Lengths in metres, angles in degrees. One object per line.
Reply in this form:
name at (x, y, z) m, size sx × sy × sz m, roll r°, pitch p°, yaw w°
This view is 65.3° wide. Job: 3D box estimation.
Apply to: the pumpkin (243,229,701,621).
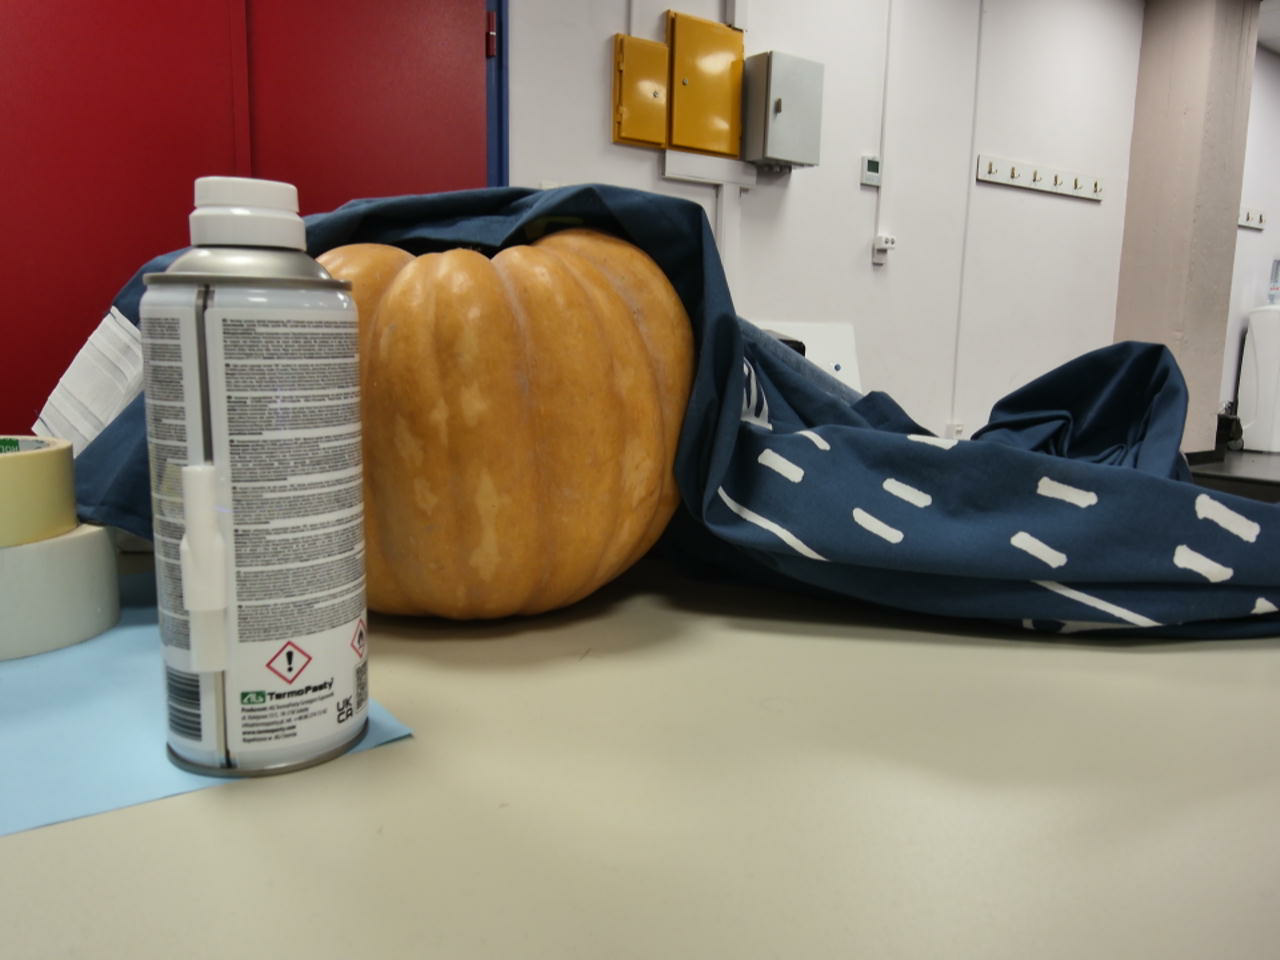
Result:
pumpkin at (-0.080, -0.030, 0.509) m, size 0.230 × 0.194 × 0.230 m, roll 1°, pitch 6°, yaw 0°
